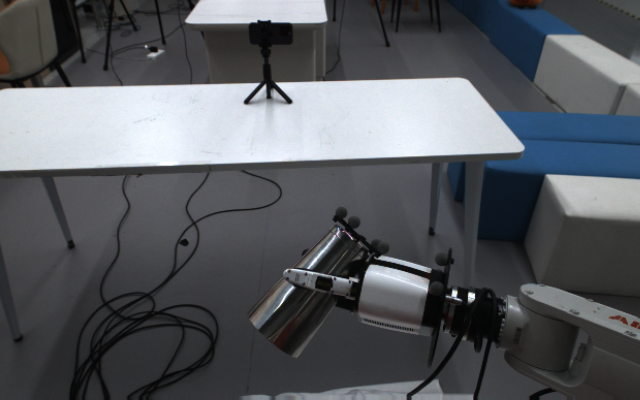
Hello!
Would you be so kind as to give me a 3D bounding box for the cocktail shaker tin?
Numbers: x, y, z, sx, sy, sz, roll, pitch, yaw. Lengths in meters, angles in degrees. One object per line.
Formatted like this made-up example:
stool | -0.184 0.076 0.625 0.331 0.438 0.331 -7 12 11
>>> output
cocktail shaker tin | -0.008 0.116 0.668 0.170 0.093 0.093 -48 49 -4
